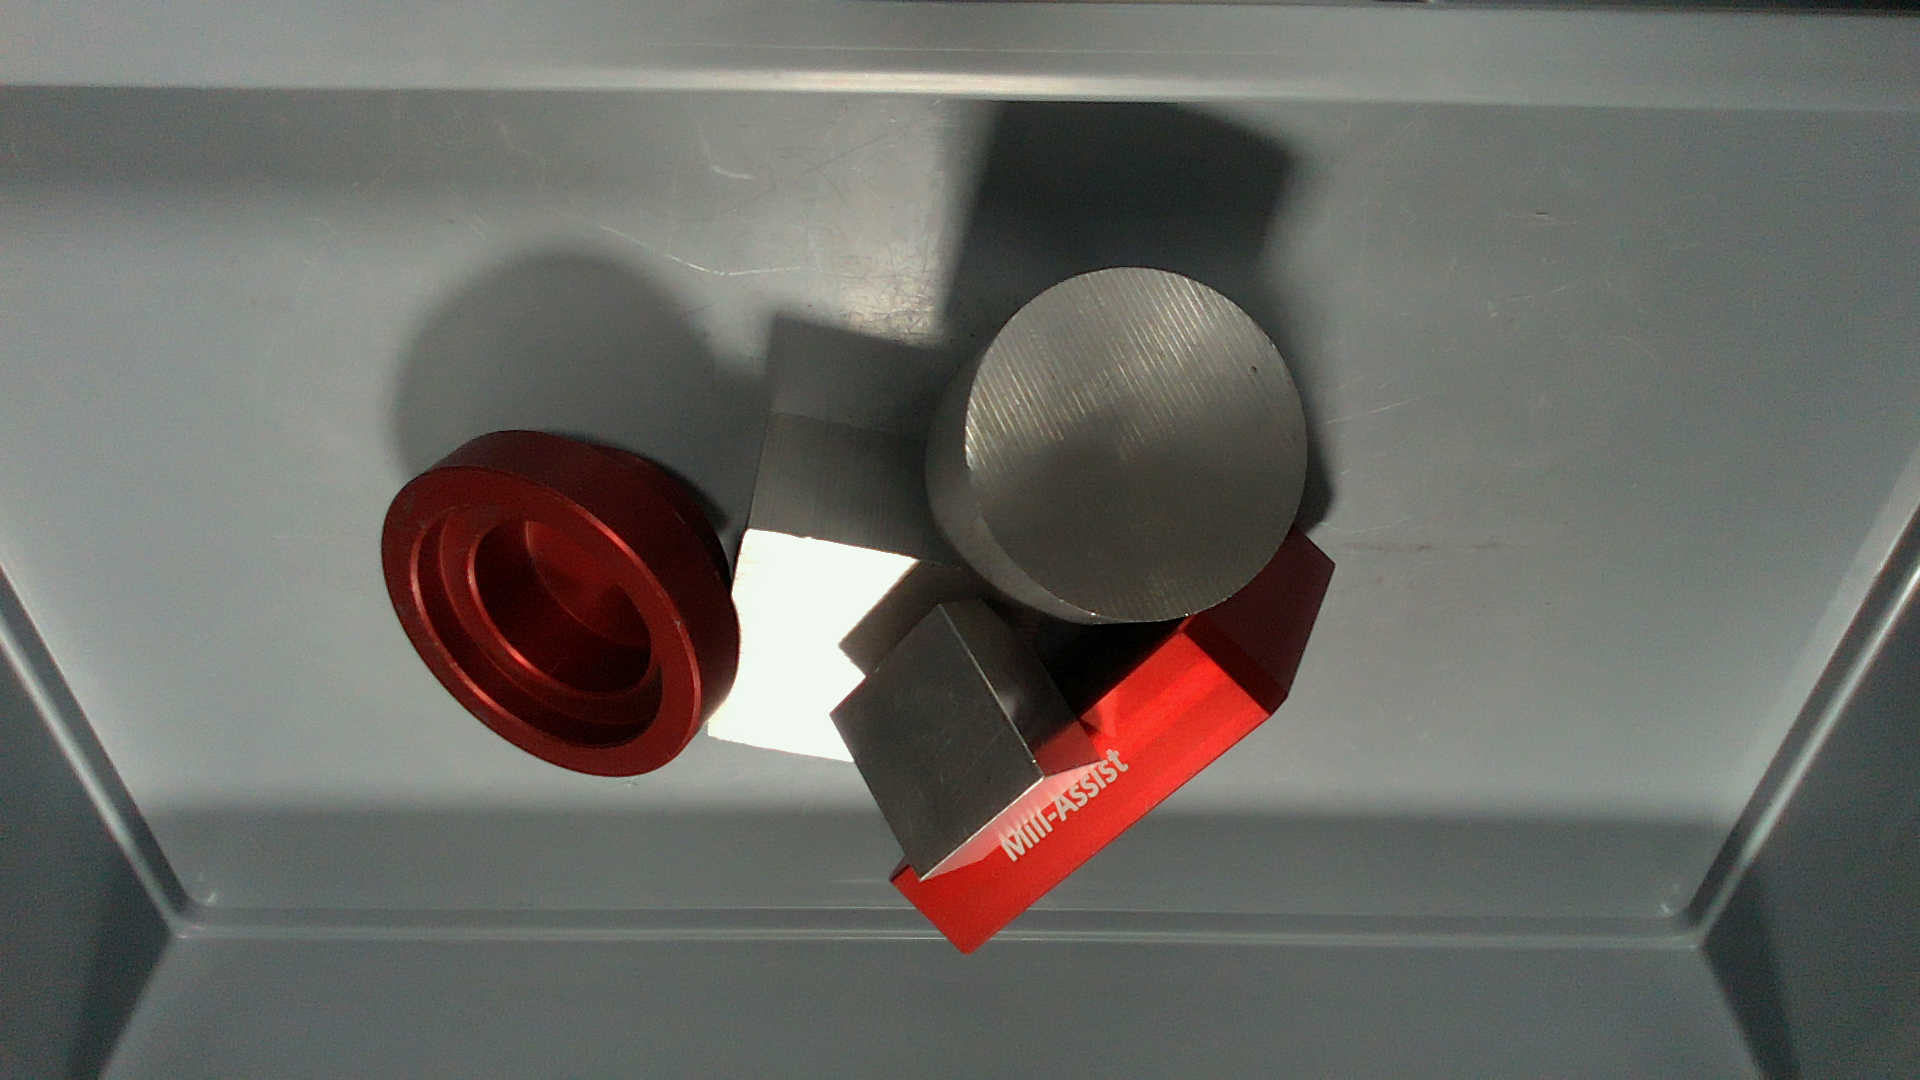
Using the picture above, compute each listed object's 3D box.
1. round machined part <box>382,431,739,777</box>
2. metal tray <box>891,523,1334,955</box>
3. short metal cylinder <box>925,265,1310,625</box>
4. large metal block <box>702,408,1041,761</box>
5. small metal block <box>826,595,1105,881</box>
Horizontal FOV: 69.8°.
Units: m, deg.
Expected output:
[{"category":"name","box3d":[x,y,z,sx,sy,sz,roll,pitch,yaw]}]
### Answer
[{"category":"round machined part","box3d":[-0.102,0.013,0.373,0.098,0.042,0.098,13,127,19]},{"category":"metal tray","box3d":[0.043,0.051,0.388,0.030,0.090,0.130,44,121,1]},{"category":"short metal cylinder","box3d":[0.035,-0.020,0.328,0.080,0.080,0.050,12,173,-10]},{"category":"large metal block","box3d":[-0.024,0.017,0.388,0.080,0.050,0.080,11,129,-9]},{"category":"small metal block","box3d":[0.000,0.049,0.346,0.025,0.050,0.050,-4,145,-51]}]
